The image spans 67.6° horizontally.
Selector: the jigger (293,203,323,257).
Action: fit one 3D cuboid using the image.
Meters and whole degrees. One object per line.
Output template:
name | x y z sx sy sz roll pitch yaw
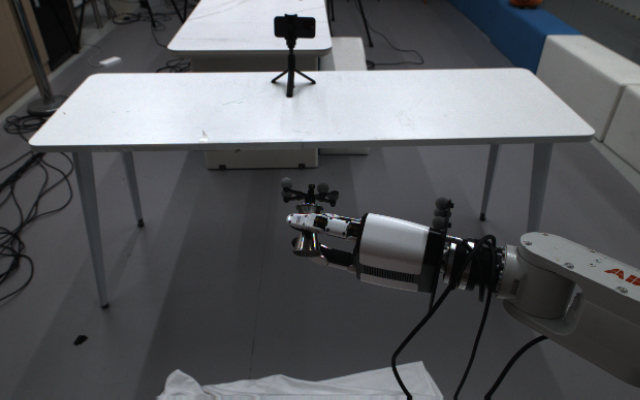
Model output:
jigger | -0.018 0.041 0.682 0.043 0.043 0.071 3 72 1
